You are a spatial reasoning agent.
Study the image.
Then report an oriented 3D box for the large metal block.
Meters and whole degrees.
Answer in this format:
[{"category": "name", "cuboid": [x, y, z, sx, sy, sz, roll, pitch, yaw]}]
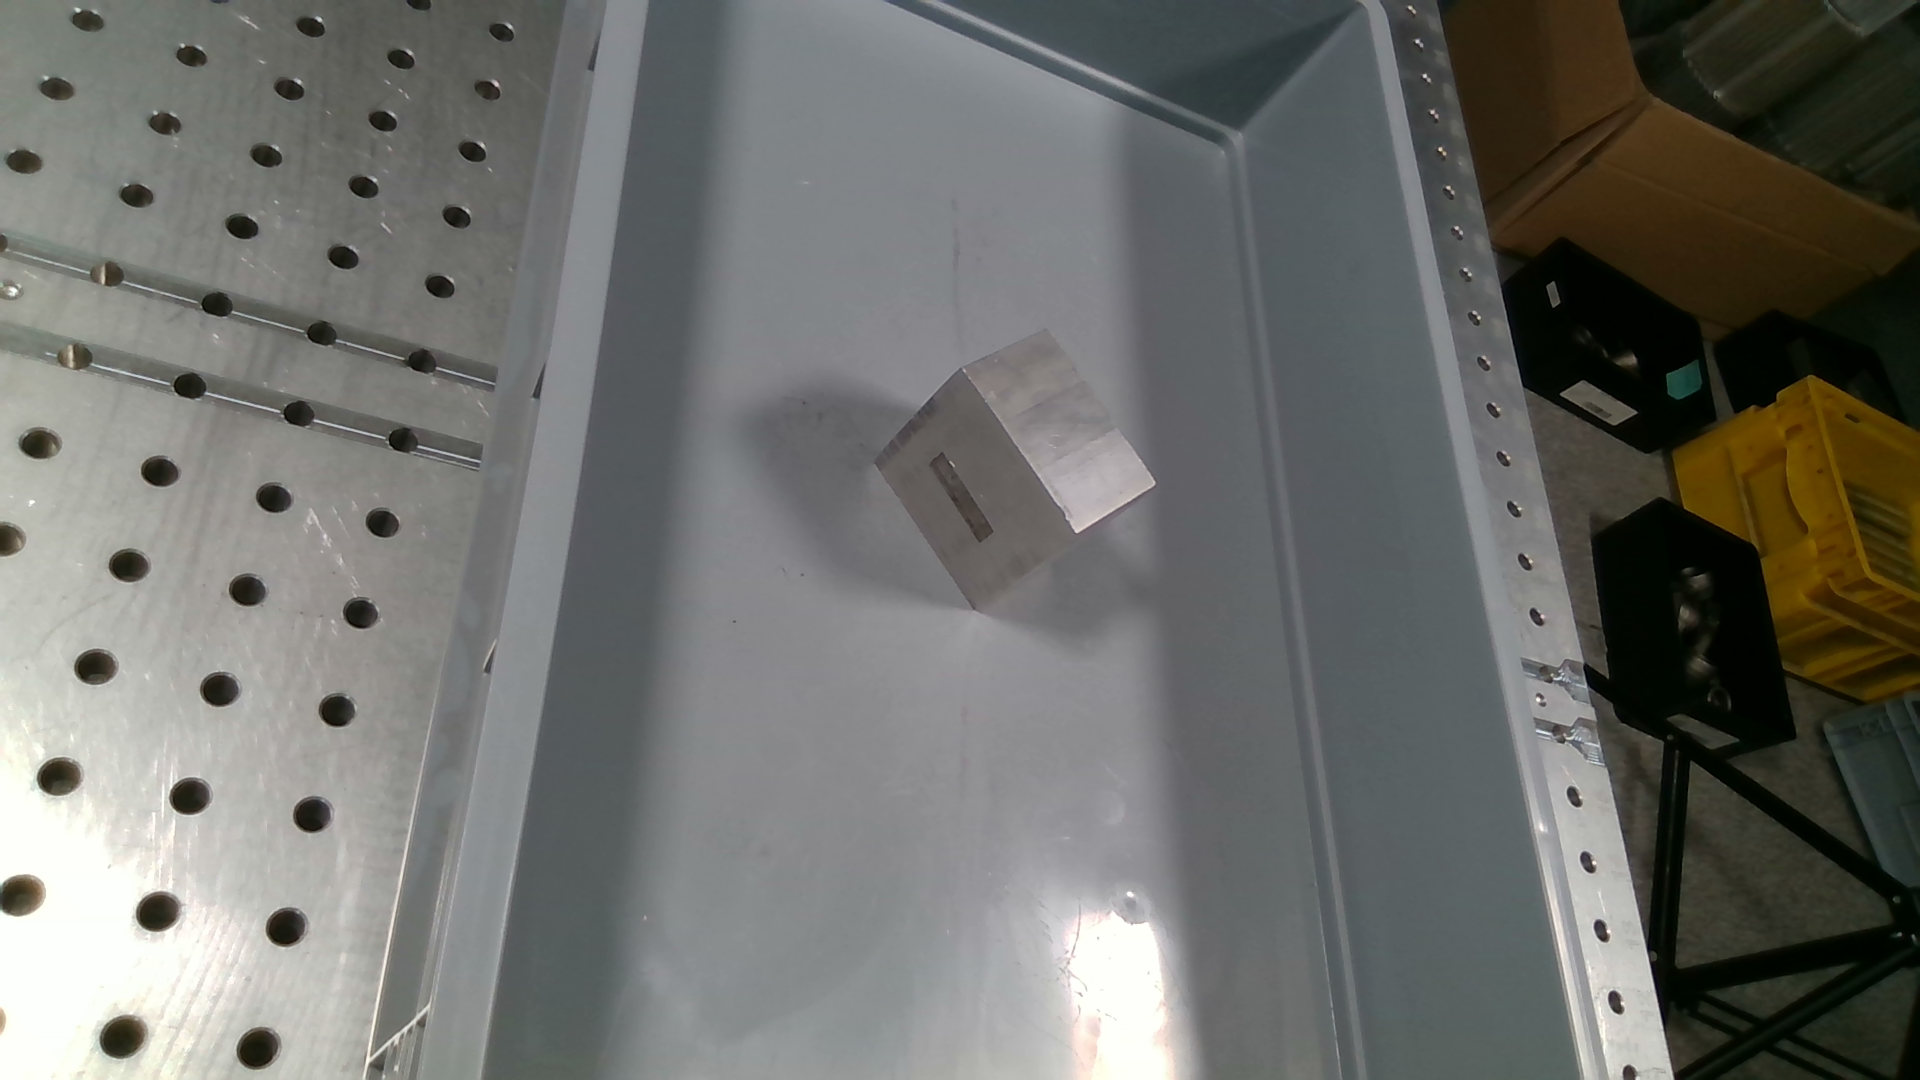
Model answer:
[{"category": "large metal block", "cuboid": [0.022, -0.028, 0.576, 0.050, 0.080, 0.080, -30, 83, -39]}]
